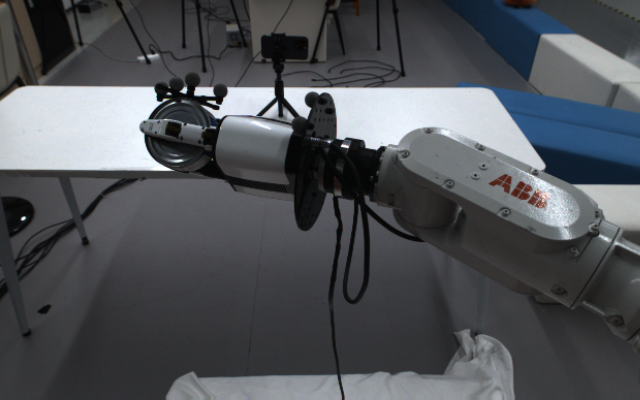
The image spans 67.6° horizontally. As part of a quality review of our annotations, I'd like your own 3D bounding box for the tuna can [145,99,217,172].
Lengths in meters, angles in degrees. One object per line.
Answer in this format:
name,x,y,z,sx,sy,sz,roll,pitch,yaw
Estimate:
tuna can,-0.166,-0.079,0.591,0.085,0.085,0.034,11,-6,13
